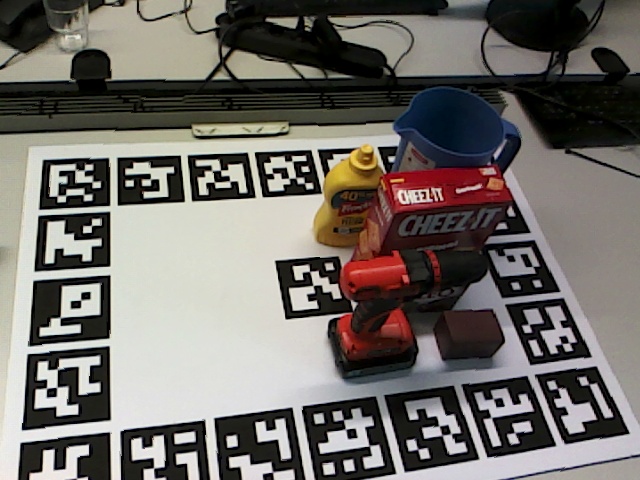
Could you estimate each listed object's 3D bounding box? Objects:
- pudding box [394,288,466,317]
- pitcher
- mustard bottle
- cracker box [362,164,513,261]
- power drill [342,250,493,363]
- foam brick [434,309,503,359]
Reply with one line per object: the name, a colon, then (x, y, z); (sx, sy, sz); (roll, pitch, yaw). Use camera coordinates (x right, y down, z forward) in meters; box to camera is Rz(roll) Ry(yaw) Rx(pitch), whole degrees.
pudding box: (0.149, 0.068, 0.887); (0.113, 0.090, 0.039); (-5, 54, -9)
pitcher: (0.183, -0.092, 0.935); (0.188, 0.242, 0.134); (0, 55, -7)
mustard bottle: (0.052, -0.076, 0.917); (0.096, 0.191, 0.058); (7, 55, -4)
cracker box: (0.155, -0.003, 0.873); (0.164, 0.213, 0.072); (-7, 54, -11)
power drill: (0.109, 0.083, 0.784); (0.184, 0.187, 0.057); (-5, 52, -14)
foam brick: (0.212, 0.135, 0.889); (0.078, 0.051, 0.053); (-2, 57, -11)
